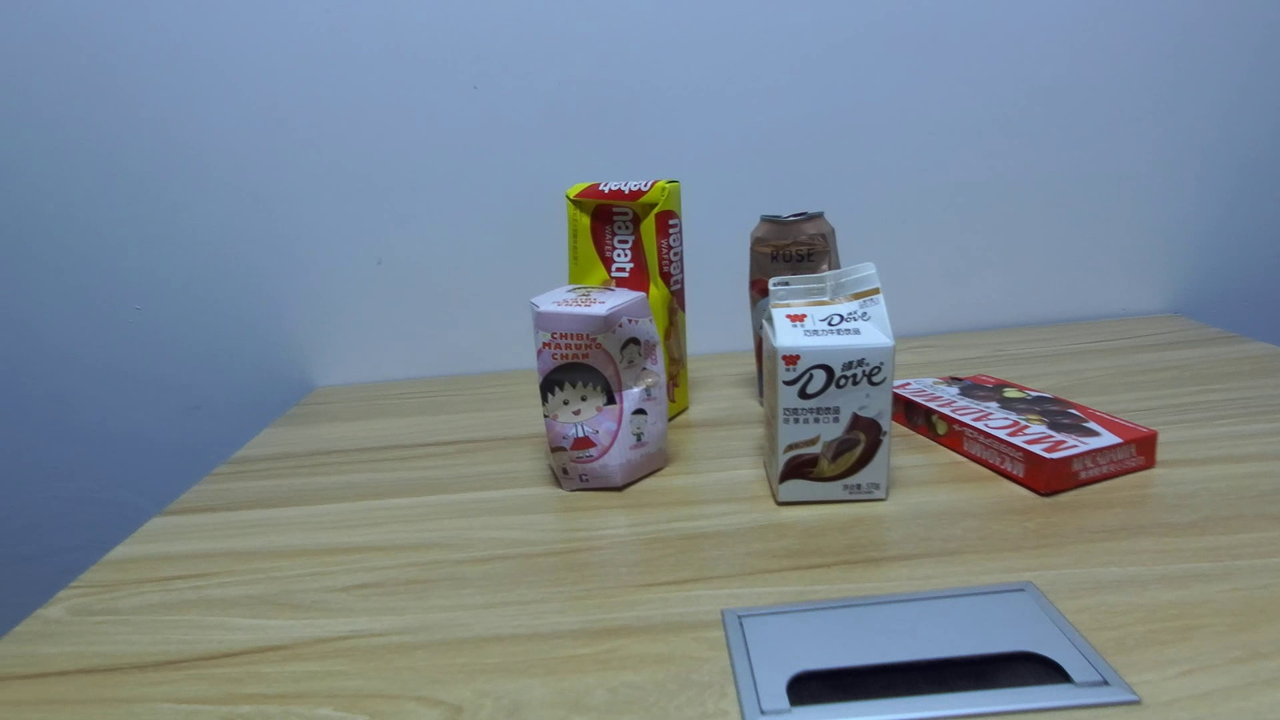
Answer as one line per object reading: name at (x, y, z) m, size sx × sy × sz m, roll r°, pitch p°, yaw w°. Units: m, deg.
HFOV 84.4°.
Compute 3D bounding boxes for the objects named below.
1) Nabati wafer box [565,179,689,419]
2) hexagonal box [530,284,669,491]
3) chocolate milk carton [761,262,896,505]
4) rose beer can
Nabati wafer box at (-0.011, -0.050, 0.614) m, size 0.096 × 0.203 × 0.042 m, roll 6°, pitch 18°, yaw 29°
hexagonal box at (-0.035, 0.019, 0.514) m, size 0.089 × 0.134 × 0.093 m, roll -12°, pitch 19°, yaw -21°
chocolate milk carton at (0.121, 0.012, 0.466) m, size 0.075 × 0.148 × 0.074 m, roll -2°, pitch 17°, yaw 3°
rose beer can at (0.133, -0.039, 0.600) m, size 0.075 × 0.167 × 0.065 m, roll 0°, pitch 9°, yaw 29°
